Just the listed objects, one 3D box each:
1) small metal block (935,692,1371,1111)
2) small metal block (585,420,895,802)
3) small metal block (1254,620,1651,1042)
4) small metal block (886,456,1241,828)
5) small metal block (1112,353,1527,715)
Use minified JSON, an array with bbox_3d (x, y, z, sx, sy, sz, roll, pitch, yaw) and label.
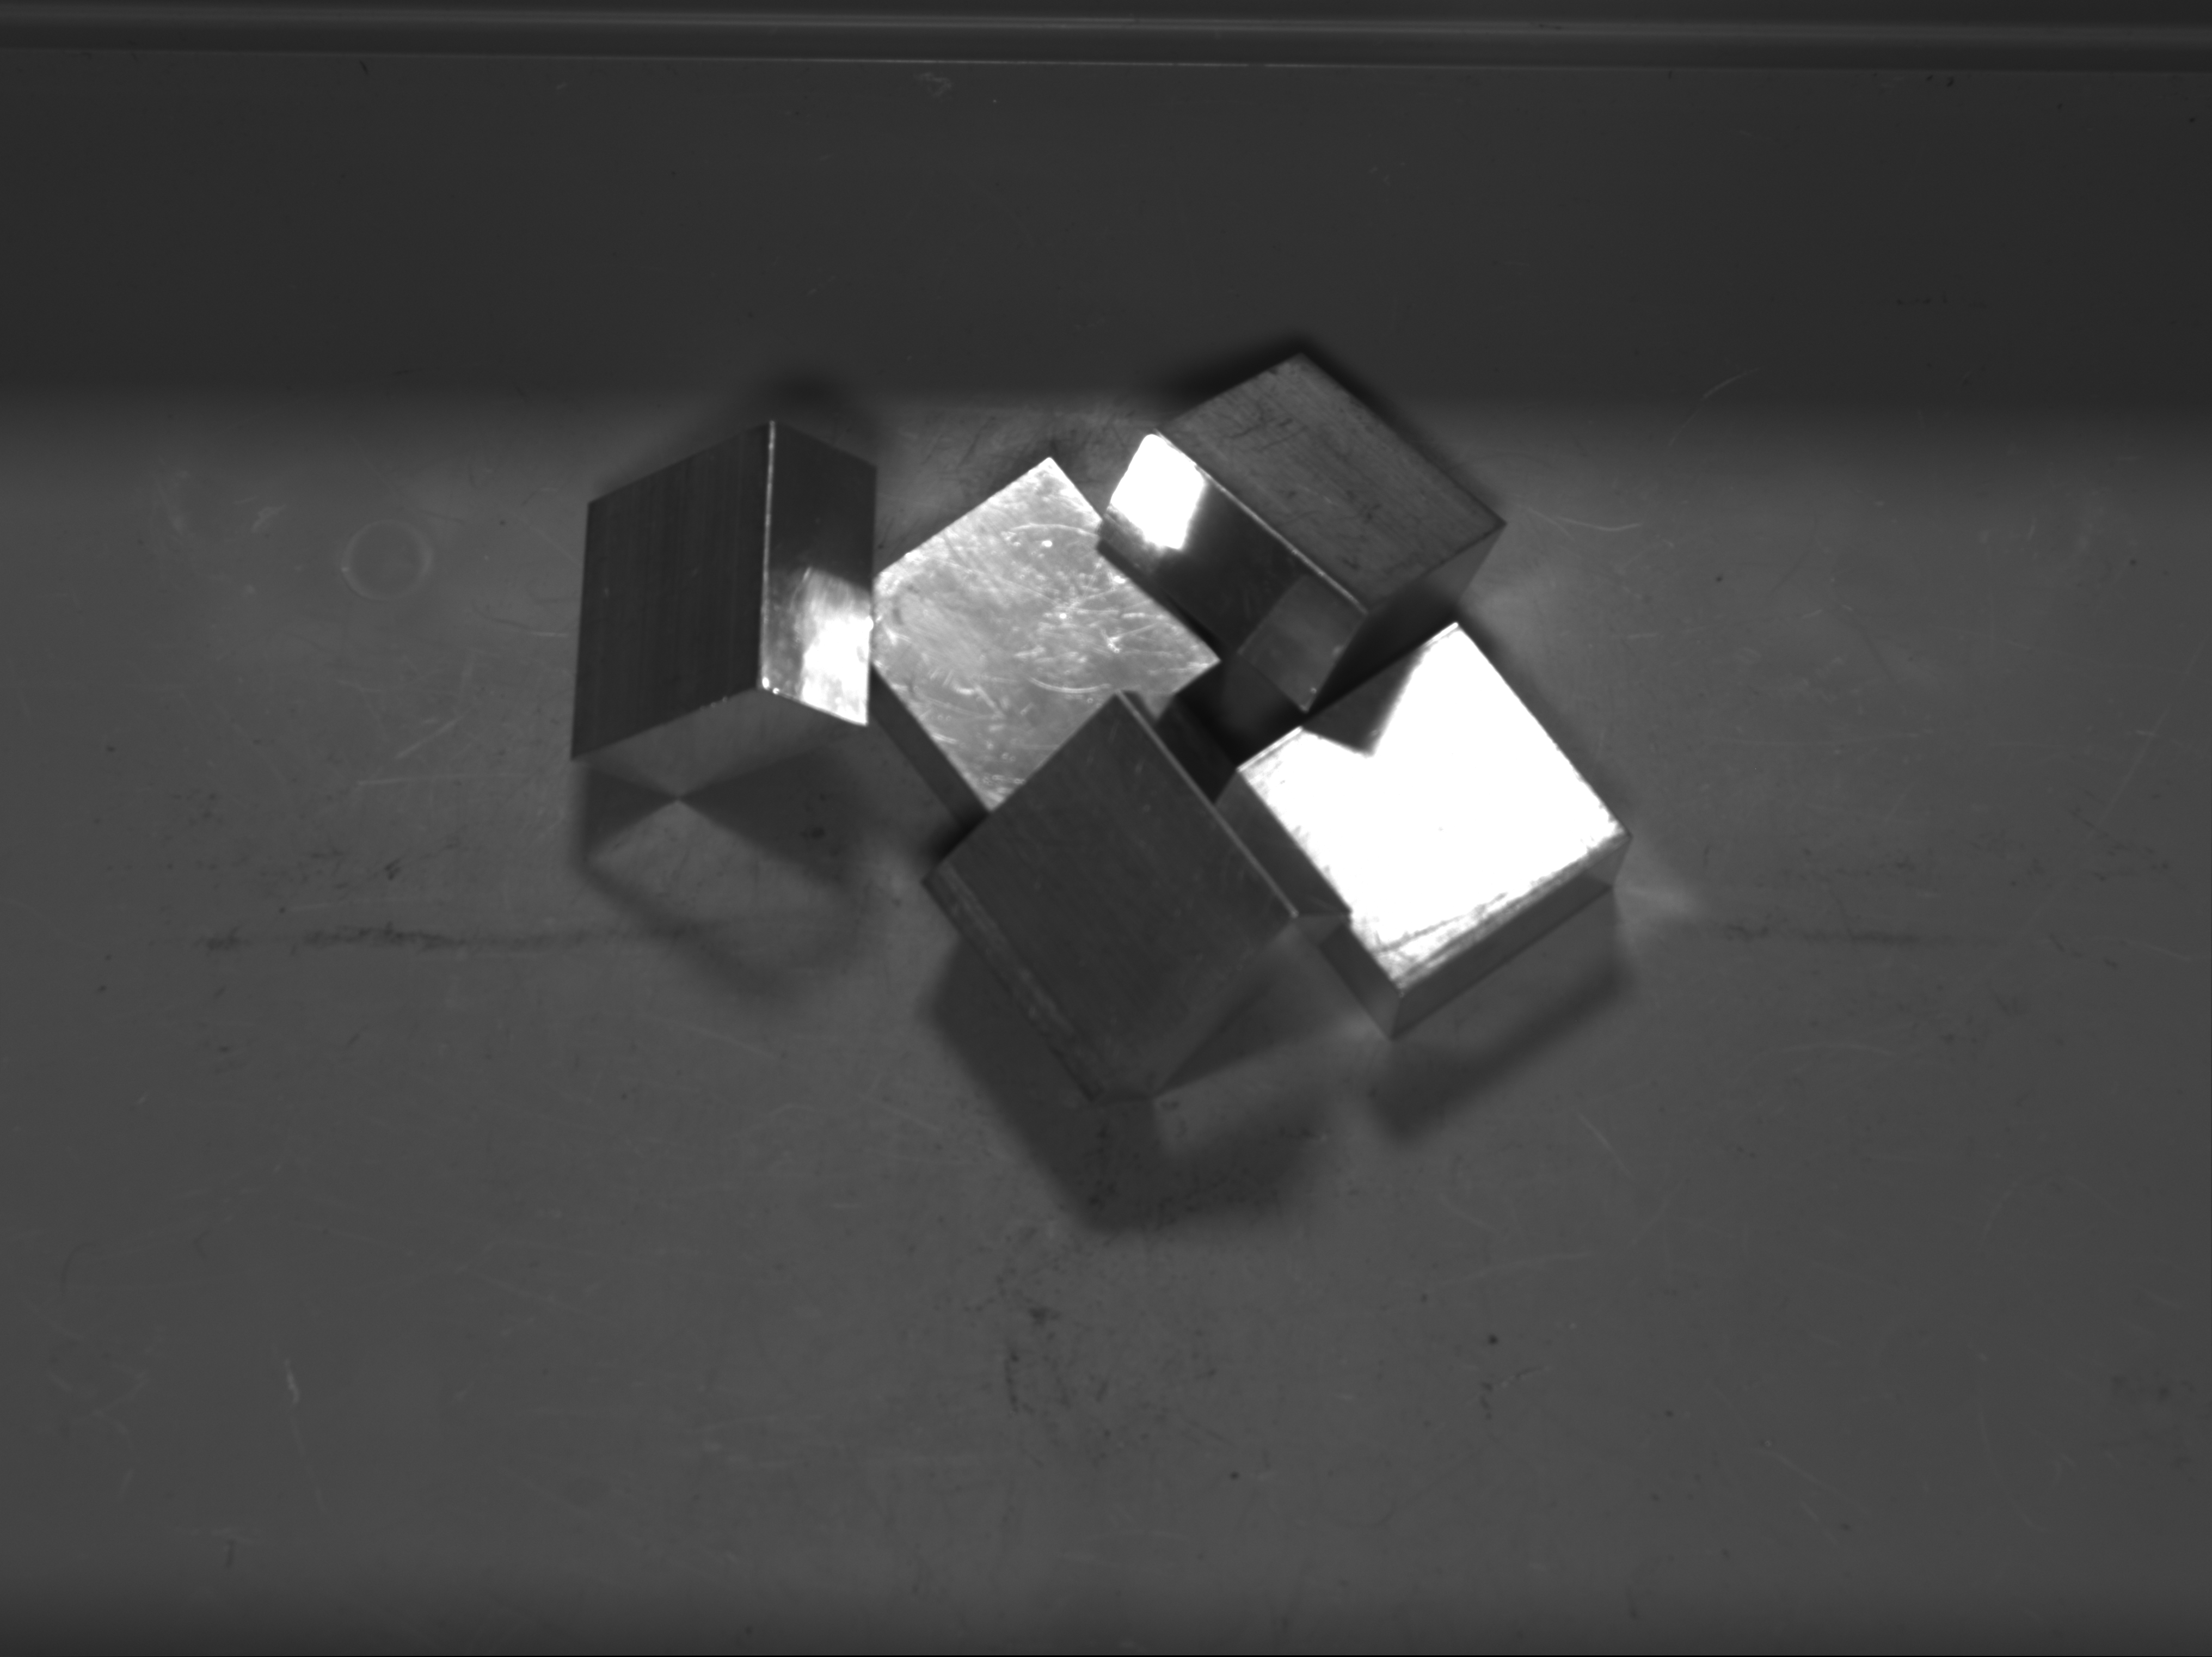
[{"bbox_3d":[0.008,0.012,0.627,0.050,0.025,0.050,-44,73,18],"label":"small metal block"},{"bbox_3d":[-0.064,-0.037,0.643,0.050,0.025,0.050,-18,62,41],"label":"small metal block"},{"bbox_3d":[0.059,0.000,0.643,0.050,0.025,0.050,-34,73,-12],"label":"small metal block"},{"bbox_3d":[-0.011,-0.029,0.654,0.050,0.025,0.050,-36,74,-12],"label":"small metal block"},{"bbox_3d":[0.038,-0.053,0.651,0.050,0.025,0.050,41,40,14],"label":"small metal block"}]
